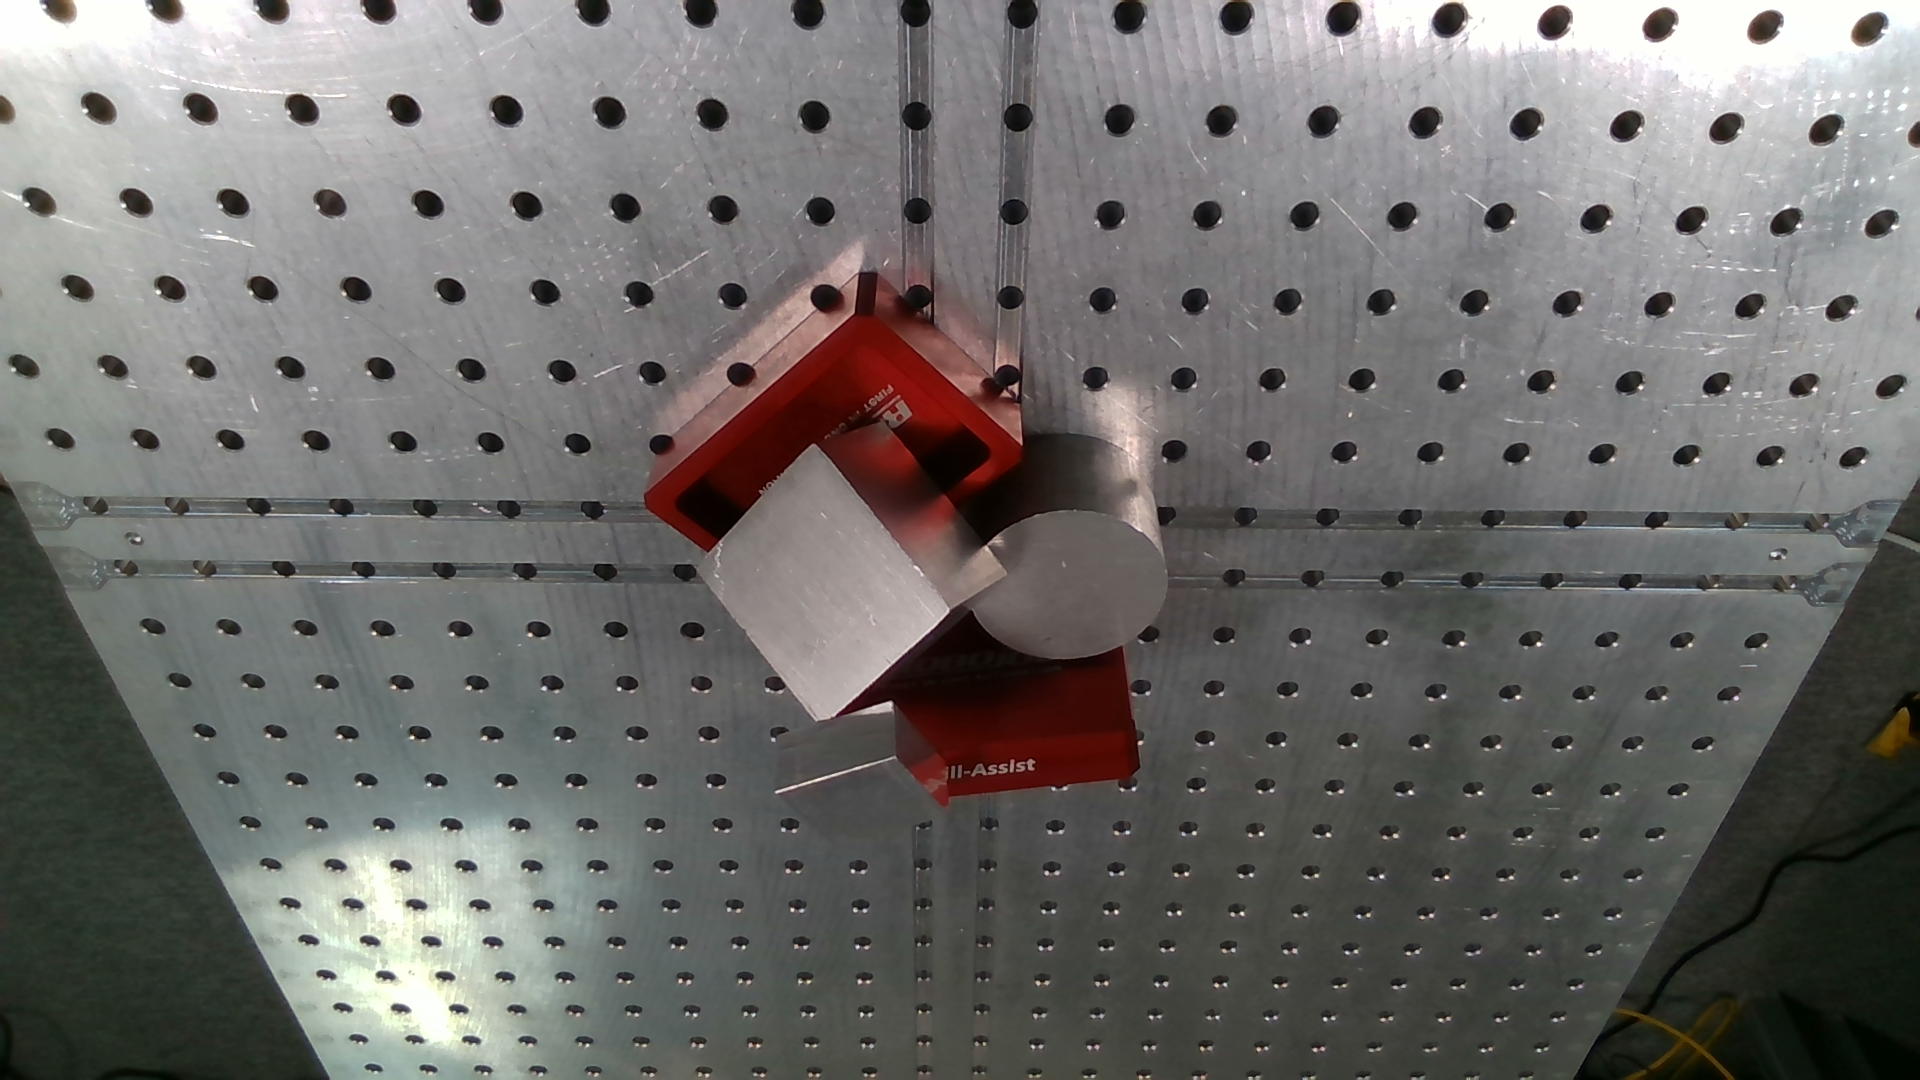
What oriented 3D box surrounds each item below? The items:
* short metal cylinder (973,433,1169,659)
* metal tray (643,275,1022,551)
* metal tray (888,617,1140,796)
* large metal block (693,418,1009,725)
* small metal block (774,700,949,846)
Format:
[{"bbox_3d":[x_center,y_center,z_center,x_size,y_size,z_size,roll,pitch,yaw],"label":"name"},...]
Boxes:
[{"bbox_3d":[0.043,0.003,0.568,0.080,0.050,0.080,0,130,0],"label":"short metal cylinder"},{"bbox_3d":[-0.051,-0.033,0.550,0.130,0.030,0.090,-36,122,26],"label":"metal tray"},{"bbox_3d":[0.007,0.065,0.594,0.130,0.090,0.030,-7,130,6],"label":"metal tray"},{"bbox_3d":[-0.043,0.012,0.536,0.080,0.050,0.080,-43,83,30],"label":"large metal block"},{"bbox_3d":[-0.038,0.092,0.537,0.050,0.025,0.050,-18,139,15],"label":"small metal block"}]
